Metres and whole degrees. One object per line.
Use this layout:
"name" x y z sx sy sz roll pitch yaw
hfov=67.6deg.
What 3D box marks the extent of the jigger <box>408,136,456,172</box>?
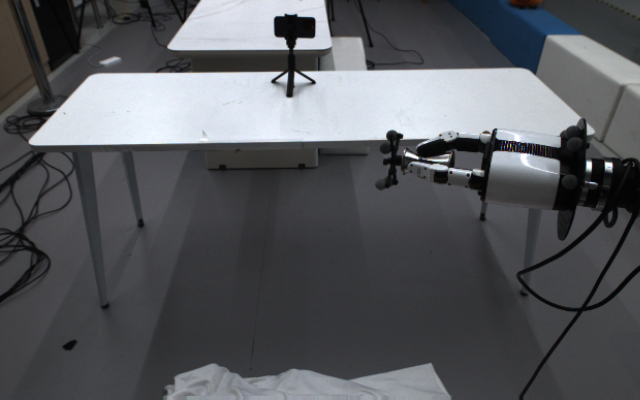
"jigger" 0.160 -0.055 0.691 0.071 0.043 0.043 8 34 23
